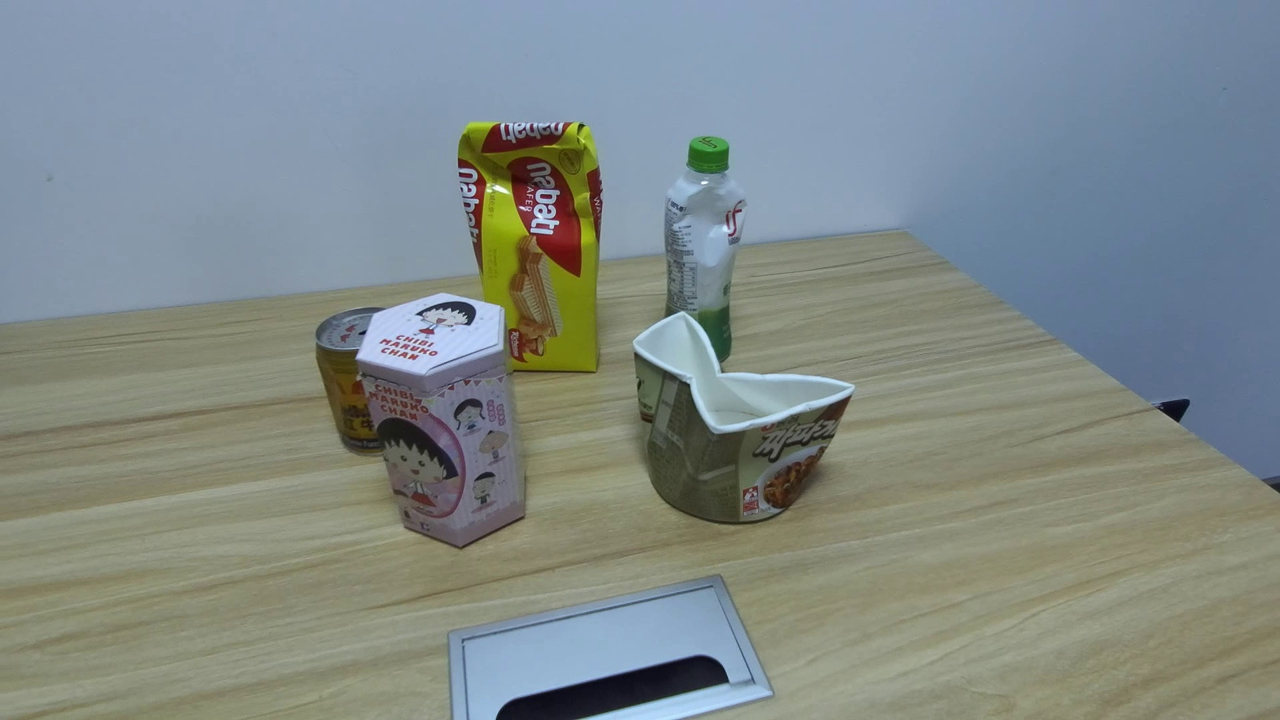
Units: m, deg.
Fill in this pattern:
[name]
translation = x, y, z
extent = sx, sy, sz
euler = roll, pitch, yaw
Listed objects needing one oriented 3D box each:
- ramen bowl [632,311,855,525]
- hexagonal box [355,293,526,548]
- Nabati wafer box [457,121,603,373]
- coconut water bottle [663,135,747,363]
[ramen bowl]
translation = 0.058, 0.036, 0.483
extent = 0.112, 0.093, 0.127
euler = -18, 38, -24
[hexagonal box]
translation = -0.118, 0.039, 0.443
extent = 0.091, 0.136, 0.084
euler = 12, 35, 19
[Nabati wafer box]
translation = -0.082, -0.085, 0.567
extent = 0.113, 0.205, 0.042
euler = 0, 32, 3
[coconut water bottle]
translation = 0.051, -0.087, 0.580
extent = 0.069, 0.187, 0.069
euler = 2, 33, -1
